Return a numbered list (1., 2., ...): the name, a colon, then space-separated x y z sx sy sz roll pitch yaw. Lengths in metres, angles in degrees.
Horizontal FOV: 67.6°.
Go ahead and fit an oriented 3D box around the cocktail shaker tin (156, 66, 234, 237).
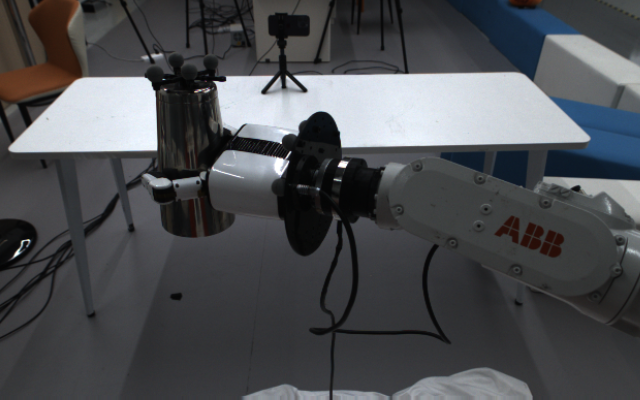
1. cocktail shaker tin: -0.148 -0.051 0.573 0.093 0.170 0.093 2 28 -1
